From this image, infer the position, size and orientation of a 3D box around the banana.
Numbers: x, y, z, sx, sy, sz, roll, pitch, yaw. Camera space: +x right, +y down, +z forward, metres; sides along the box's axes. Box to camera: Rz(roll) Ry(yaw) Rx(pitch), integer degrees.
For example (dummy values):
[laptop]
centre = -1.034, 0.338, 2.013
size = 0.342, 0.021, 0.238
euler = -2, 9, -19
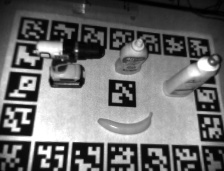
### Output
[banana]
centre = 0.058, 0.122, 0.728
size = 0.198, 0.039, 0.074
euler = -1, 73, -9

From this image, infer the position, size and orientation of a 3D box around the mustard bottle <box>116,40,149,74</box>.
[mustard bottle]
centre = 0.077, -0.100, 0.738
size = 0.097, 0.191, 0.058
euler = -3, 71, -13

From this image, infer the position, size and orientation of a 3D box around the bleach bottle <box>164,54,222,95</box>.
[bleach bottle]
centre = 0.269, -0.036, 0.720
size = 0.103, 0.250, 0.068
euler = 12, 69, -6

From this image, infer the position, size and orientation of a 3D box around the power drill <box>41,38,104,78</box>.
[power drill]
centre = -0.106, -0.081, 0.662
size = 0.185, 0.187, 0.057
euler = -2, 71, -7
